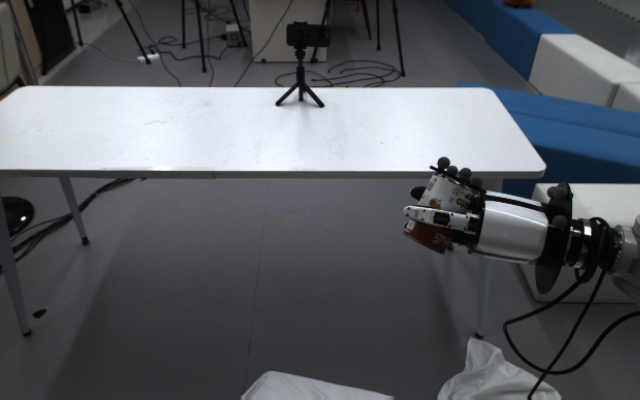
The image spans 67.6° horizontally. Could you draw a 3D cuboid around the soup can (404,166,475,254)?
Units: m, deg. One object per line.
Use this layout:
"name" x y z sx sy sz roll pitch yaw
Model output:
"soup can" 0.175 0.018 0.706 0.067 0.101 0.067 26 5 -2
